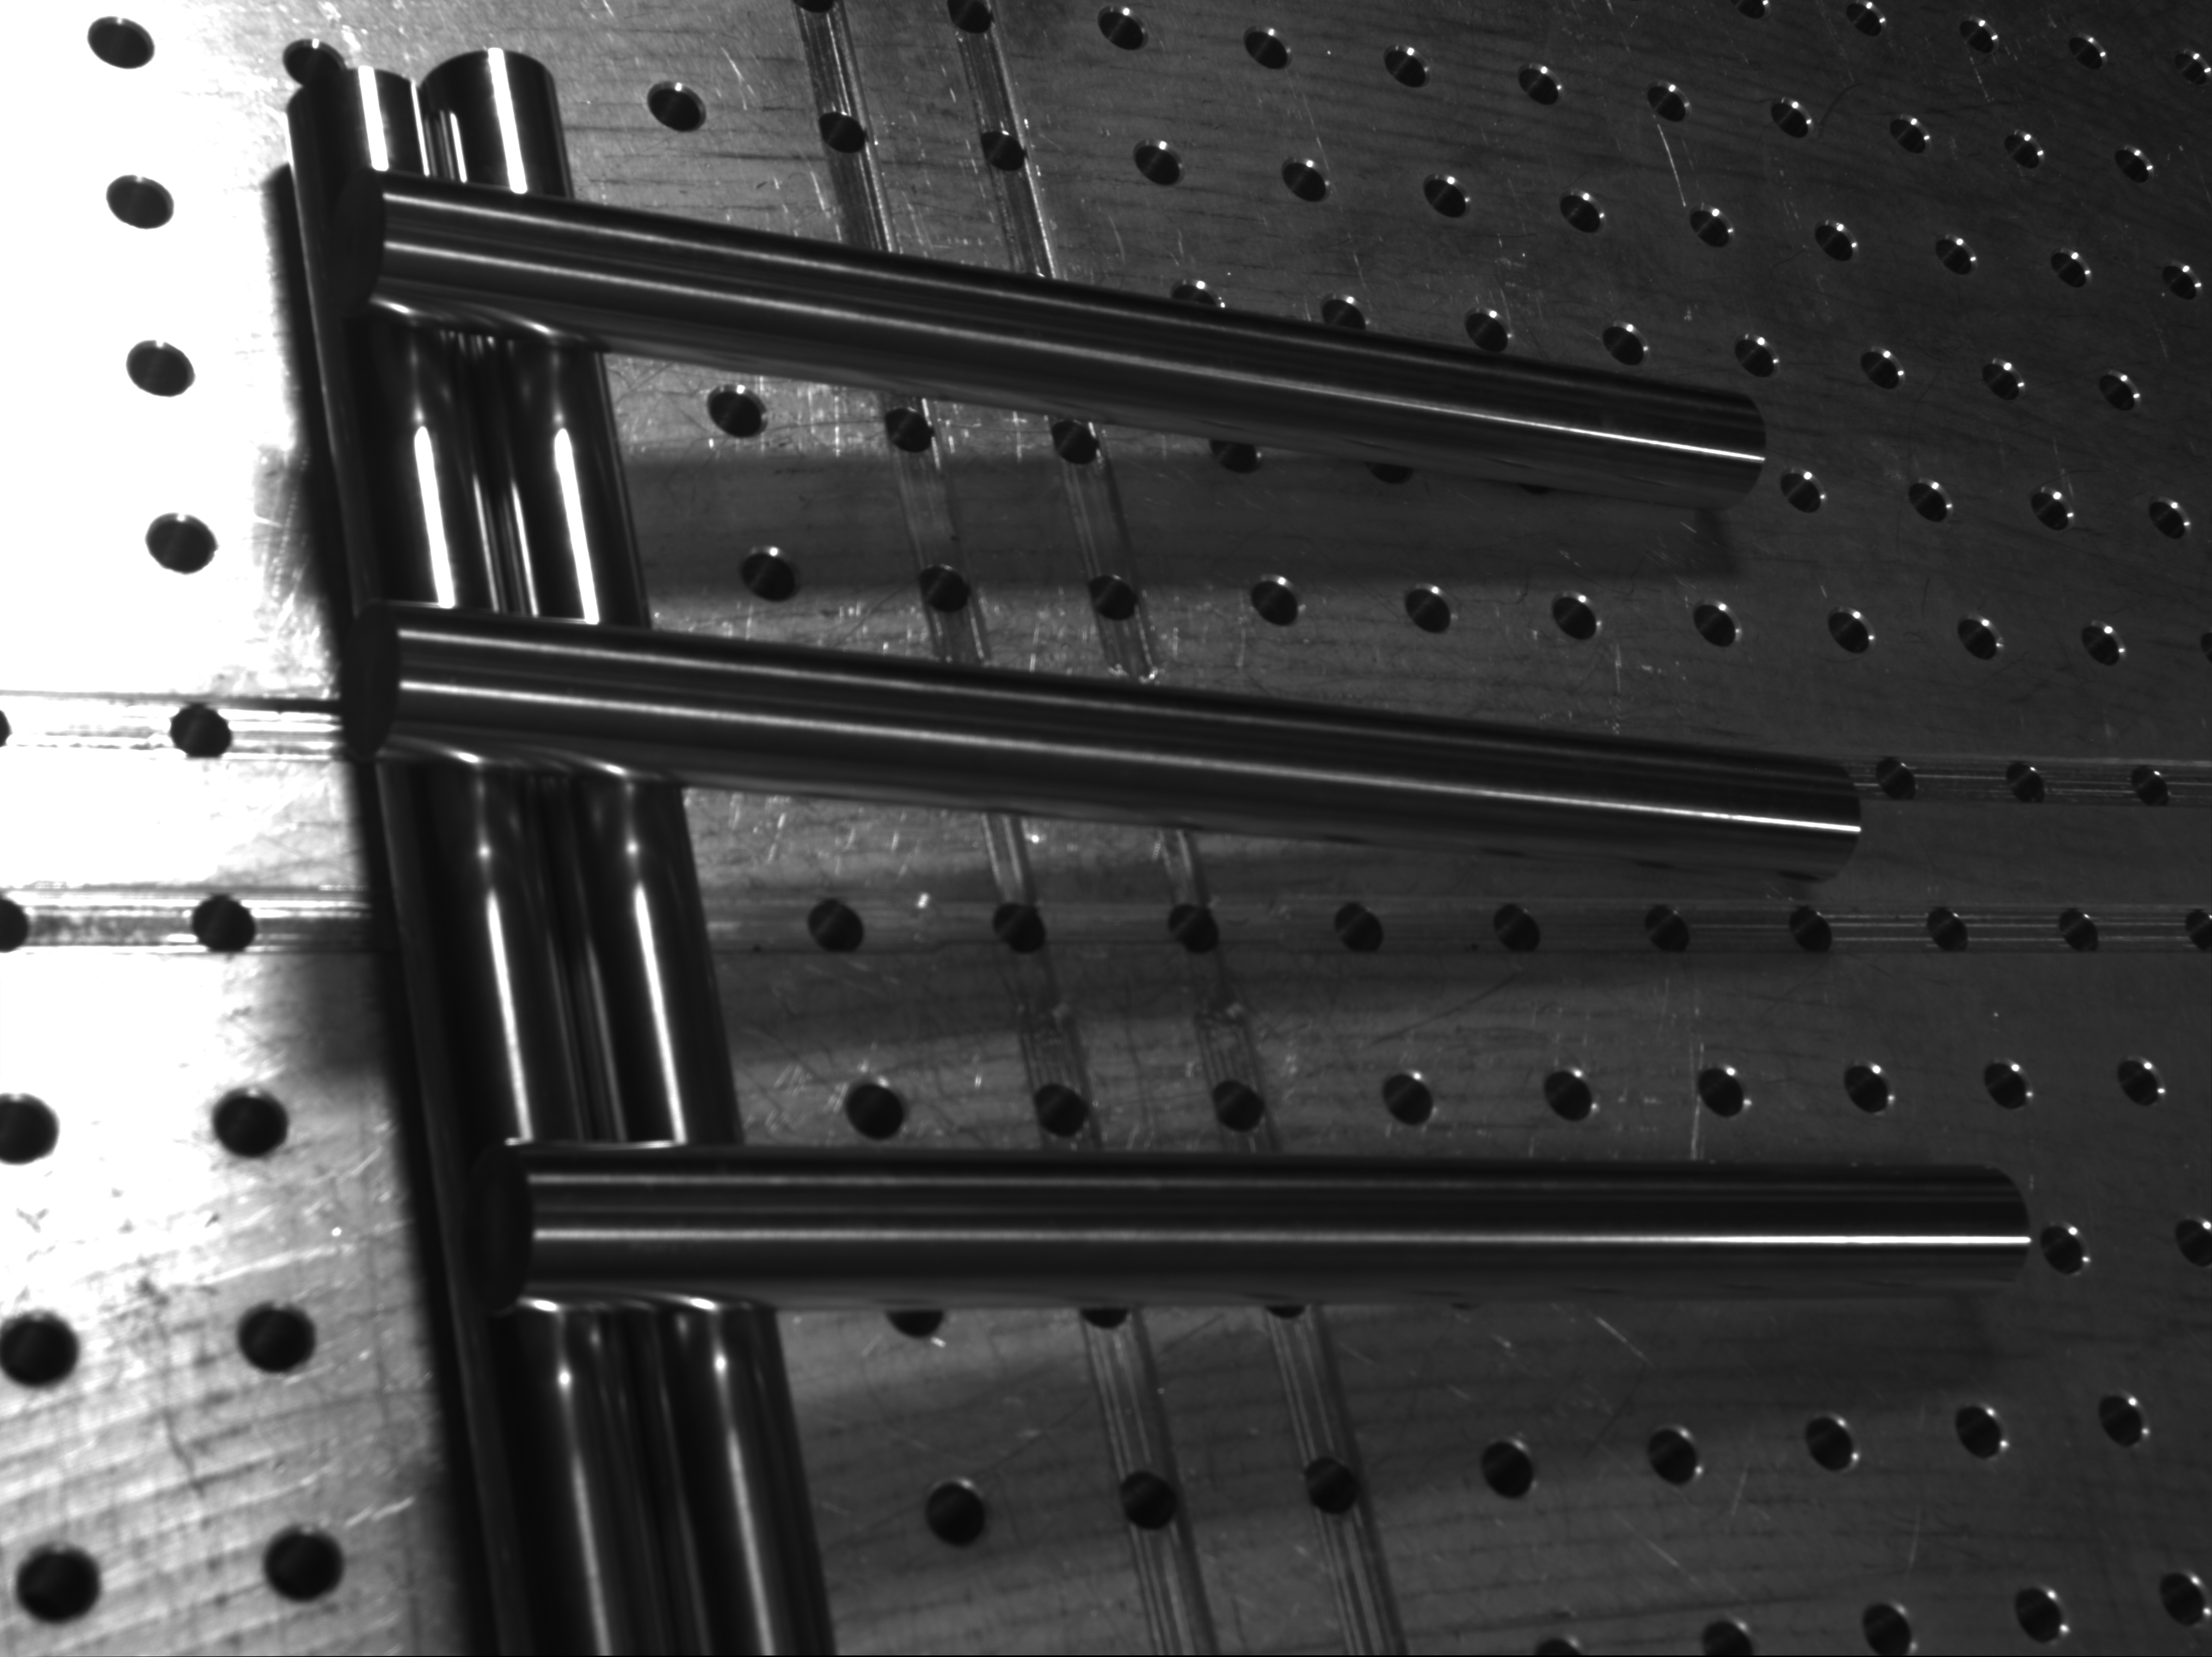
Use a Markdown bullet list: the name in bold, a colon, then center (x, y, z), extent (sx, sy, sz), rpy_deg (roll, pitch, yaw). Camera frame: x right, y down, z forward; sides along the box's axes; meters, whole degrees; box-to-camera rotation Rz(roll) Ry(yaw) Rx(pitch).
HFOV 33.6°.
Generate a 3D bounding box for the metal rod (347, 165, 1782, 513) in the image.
- **metal rod**: center (0.006, -0.087, 0.681), extent (0.301, 0.025, 0.025), rpy_deg (4, 60, -33)

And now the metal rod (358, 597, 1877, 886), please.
- **metal rod**: center (0.017, -0.012, 0.640), extent (0.301, 0.025, 0.025), rpy_deg (5, 59, -33)

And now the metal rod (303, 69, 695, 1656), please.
- **metal rod**: center (-0.099, 0.005, 0.586), extent (0.025, 0.025, 0.300), rpy_deg (1, 61, -28)

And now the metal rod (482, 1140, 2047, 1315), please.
- **metal rod**: center (0.042, 0.066, 0.606), extent (0.301, 0.025, 0.025), rpy_deg (4, 59, -33)

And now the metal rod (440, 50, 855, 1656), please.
- **metal rod**: center (-0.079, -0.001, 0.601), extent (0.025, 0.025, 0.300), rpy_deg (1, 61, -28)
